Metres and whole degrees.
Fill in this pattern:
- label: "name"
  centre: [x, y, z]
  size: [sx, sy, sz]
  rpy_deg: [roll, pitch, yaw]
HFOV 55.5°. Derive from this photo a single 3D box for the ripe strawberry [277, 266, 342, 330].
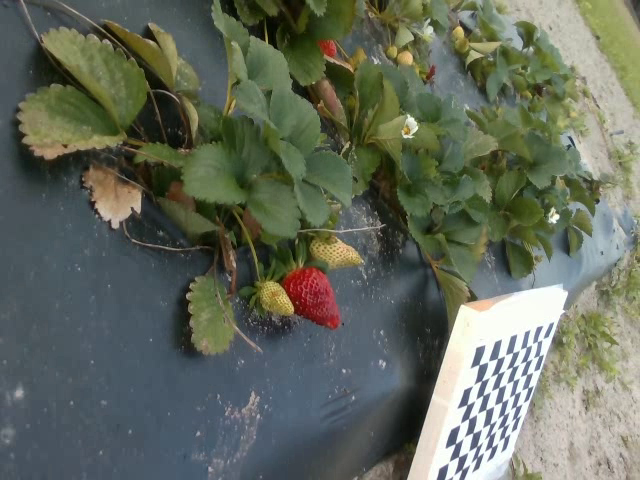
- label: "ripe strawberry"
  centre: [-0.003, 0.047, 0.443]
  size: [0.046, 0.046, 0.059]
  rpy_deg: [-7, 45, -49]
